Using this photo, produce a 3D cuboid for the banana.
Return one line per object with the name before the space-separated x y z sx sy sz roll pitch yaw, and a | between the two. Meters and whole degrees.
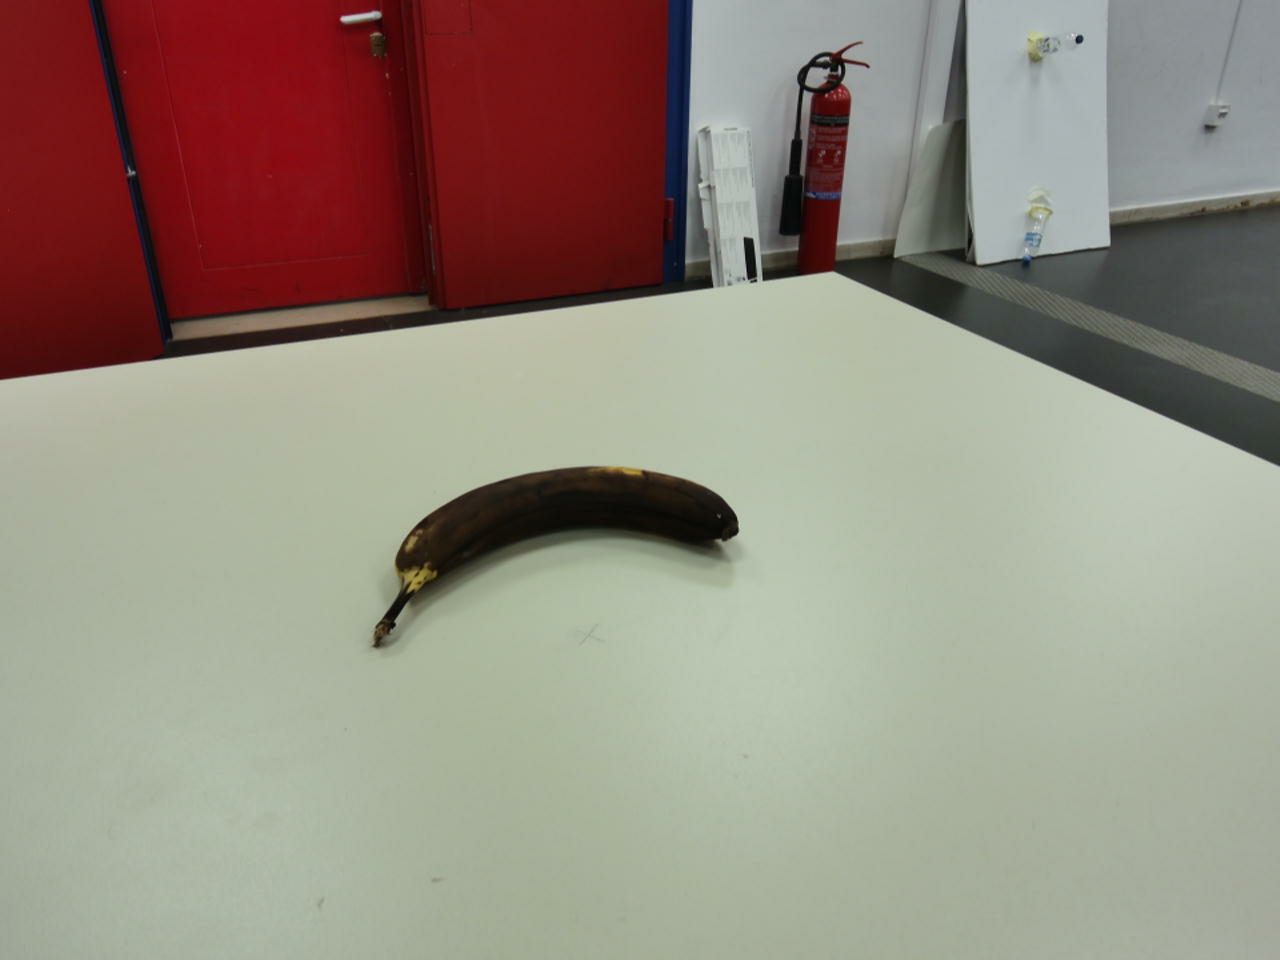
banana | -0.048 0.023 0.503 0.188 0.034 0.091 -11 28 -22
